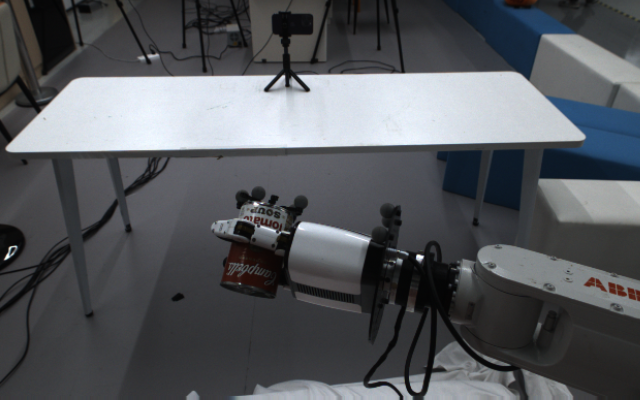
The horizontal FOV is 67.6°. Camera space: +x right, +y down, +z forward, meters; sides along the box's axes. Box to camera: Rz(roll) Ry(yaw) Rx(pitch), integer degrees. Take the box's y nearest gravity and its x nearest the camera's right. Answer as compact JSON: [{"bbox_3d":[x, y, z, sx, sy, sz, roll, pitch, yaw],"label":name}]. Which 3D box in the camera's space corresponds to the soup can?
[{"bbox_3d":[-0.073,0.061,0.578,0.067,0.067,0.101,9,71,9],"label":"soup can"}]
